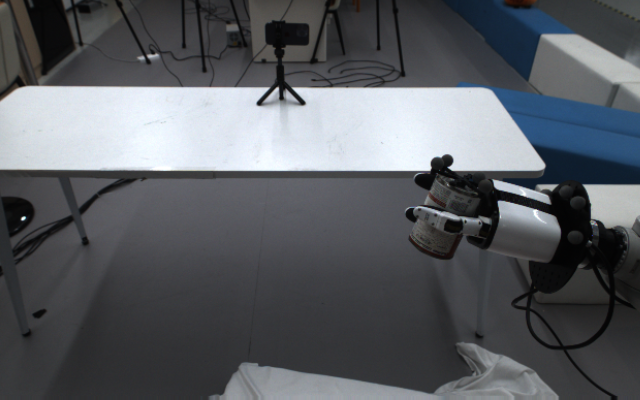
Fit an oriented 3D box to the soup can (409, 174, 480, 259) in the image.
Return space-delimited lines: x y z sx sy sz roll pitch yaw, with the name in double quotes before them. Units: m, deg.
"soup can" 0.174 0.021 0.669 0.067 0.101 0.067 17 21 -7
